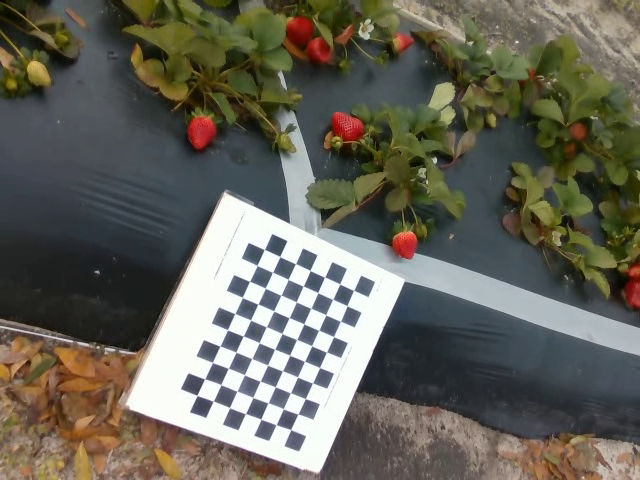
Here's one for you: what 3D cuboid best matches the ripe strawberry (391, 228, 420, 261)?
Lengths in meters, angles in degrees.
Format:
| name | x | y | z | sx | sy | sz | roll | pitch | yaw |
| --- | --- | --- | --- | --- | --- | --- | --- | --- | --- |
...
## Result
| name | x | y | z | sx | sy | sz | roll | pitch | yaw |
| --- | --- | --- | --- | --- | --- | --- | --- | --- | --- |
| ripe strawberry | 0.114 | 0.006 | 0.800 | 0.039 | 0.047 | 0.041 | -11 | 2 | -6 |

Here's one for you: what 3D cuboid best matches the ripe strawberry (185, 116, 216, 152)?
| name | x | y | z | sx | sy | sz | roll | pitch | yaw |
| --- | --- | --- | --- | --- | --- | --- | --- | --- | --- |
| ripe strawberry | -0.134 | -0.126 | 0.674 | 0.036 | 0.046 | 0.040 | 10 | -42 | -8 |

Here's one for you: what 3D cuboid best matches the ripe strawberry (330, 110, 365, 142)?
| name | x | y | z | sx | sy | sz | roll | pitch | yaw |
| --- | --- | --- | --- | --- | --- | --- | --- | --- | --- |
| ripe strawberry | 0.038 | -0.168 | 0.816 | 0.062 | 0.043 | 0.042 | 44 | -2 | -10 |
